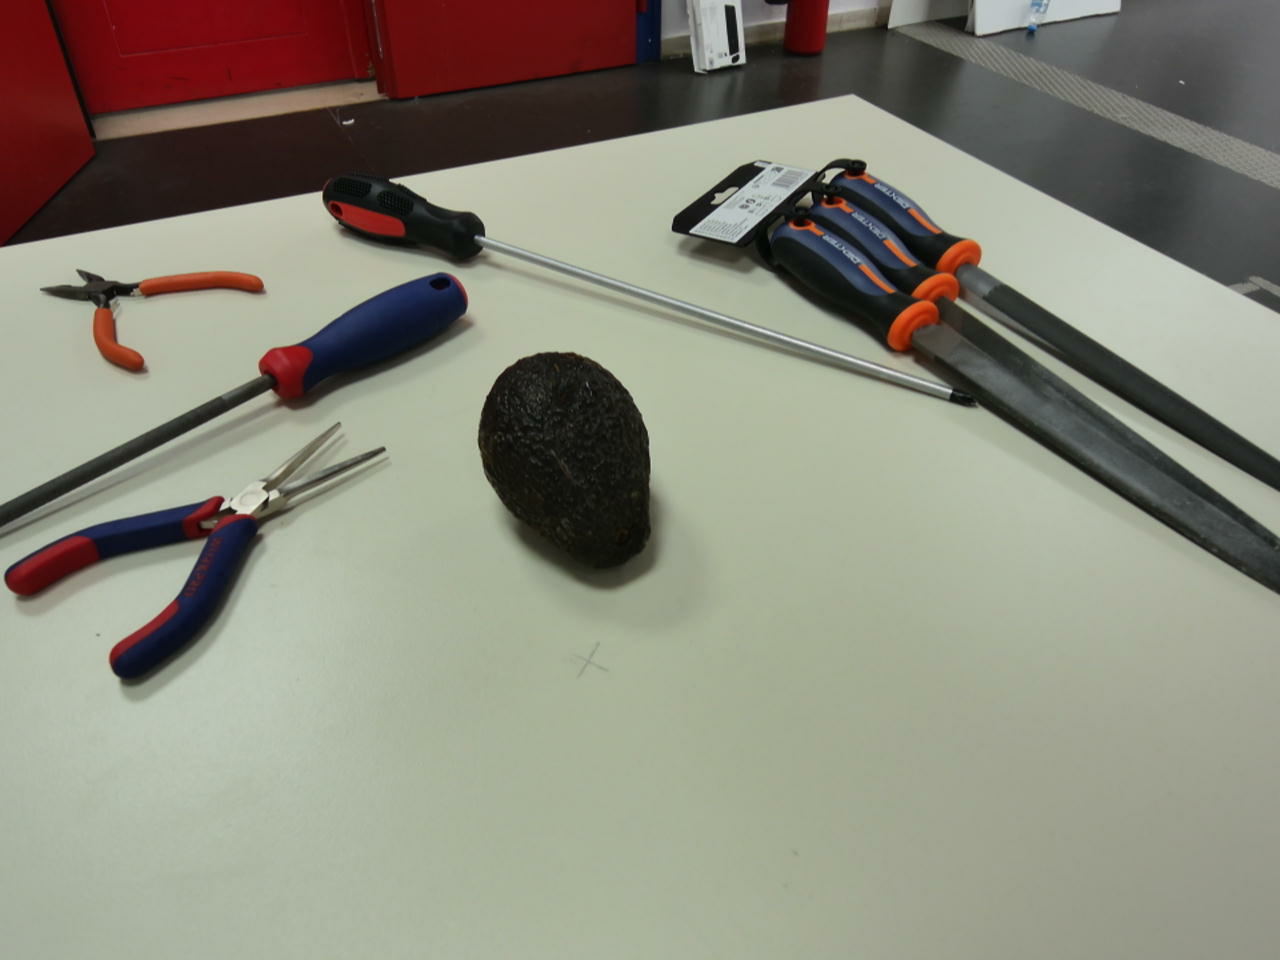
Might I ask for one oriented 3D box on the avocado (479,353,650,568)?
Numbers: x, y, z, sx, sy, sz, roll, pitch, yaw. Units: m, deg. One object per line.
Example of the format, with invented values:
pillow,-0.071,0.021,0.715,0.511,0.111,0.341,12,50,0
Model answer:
avocado,-0.031,-0.012,0.407,0.070,0.069,0.090,-2,38,-2
